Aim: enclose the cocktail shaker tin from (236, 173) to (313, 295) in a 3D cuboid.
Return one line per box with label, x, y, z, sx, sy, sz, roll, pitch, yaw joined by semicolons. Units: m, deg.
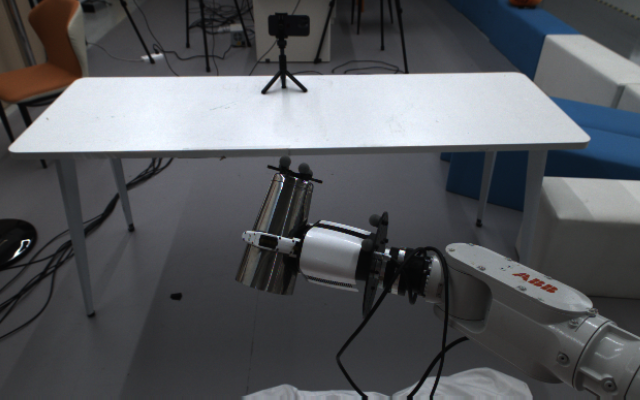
cocktail shaker tin;-0.063;0.049;0.741;0.093;0.170;0.093;15;-4;1
